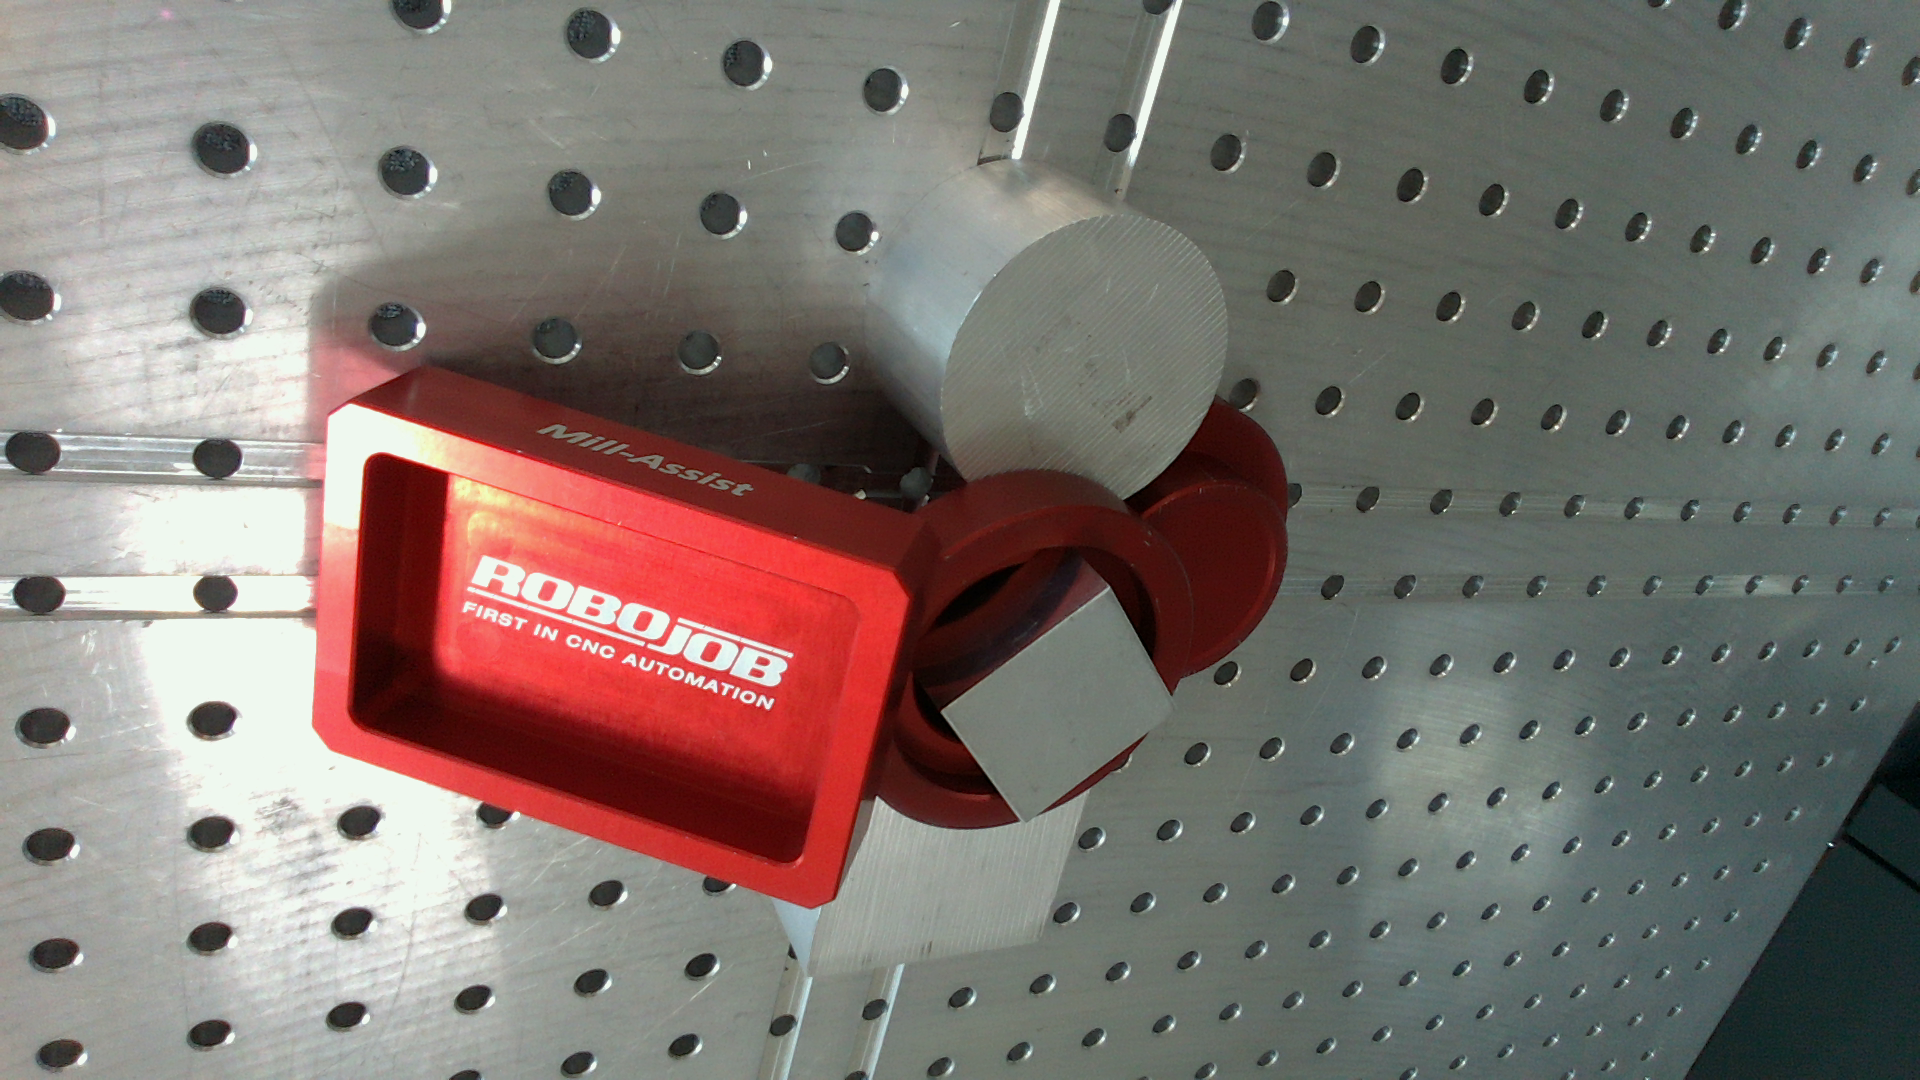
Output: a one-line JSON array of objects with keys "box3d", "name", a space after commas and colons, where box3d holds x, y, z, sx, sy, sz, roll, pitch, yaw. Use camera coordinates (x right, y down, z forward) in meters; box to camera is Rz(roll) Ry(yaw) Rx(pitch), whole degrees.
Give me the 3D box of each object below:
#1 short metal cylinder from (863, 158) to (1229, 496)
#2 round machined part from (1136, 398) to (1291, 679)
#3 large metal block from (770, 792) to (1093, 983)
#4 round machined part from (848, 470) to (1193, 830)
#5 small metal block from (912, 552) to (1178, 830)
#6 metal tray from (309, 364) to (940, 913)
[{"box3d": [0.021, -0.052, 0.355, 0.080, 0.050, 0.080, -14, 124, -21], "name": "short metal cylinder"}, {"box3d": [0.059, 0.004, 0.414, 0.098, 0.042, 0.098, -14, 124, -21], "name": "round machined part"}, {"box3d": [-0.011, 0.080, 0.416, 0.080, 0.050, 0.080, 1, 118, -29], "name": "large metal block"}, {"box3d": [0.009, 0.025, 0.364, 0.098, 0.042, 0.098, -14, 124, -21], "name": "round machined part"}, {"box3d": [0.020, 0.037, 0.346, 0.050, 0.025, 0.050, -36, 129, -4], "name": "small metal block"}, {"box3d": [-0.079, 0.023, 0.314, 0.130, 0.030, 0.090, 17, 114, 4], "name": "metal tray"}]
